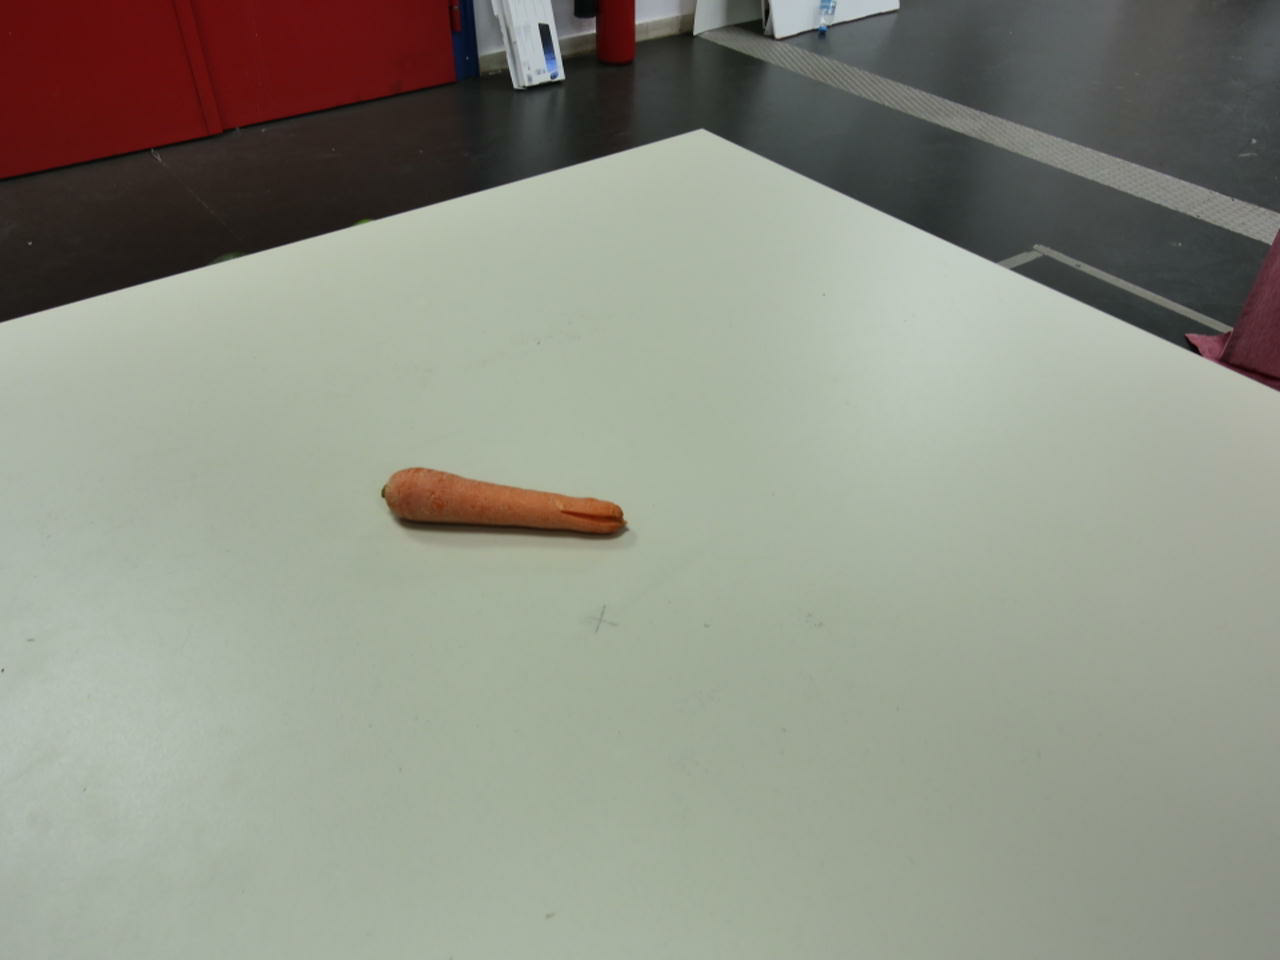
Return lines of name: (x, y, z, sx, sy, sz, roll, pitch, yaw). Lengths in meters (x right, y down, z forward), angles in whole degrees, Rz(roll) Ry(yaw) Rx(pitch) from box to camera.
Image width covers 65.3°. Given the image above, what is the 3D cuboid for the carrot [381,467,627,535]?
carrot: (-0.075, 0.012, 0.547, 0.136, 0.032, 0.030, 5, 38, 6)
